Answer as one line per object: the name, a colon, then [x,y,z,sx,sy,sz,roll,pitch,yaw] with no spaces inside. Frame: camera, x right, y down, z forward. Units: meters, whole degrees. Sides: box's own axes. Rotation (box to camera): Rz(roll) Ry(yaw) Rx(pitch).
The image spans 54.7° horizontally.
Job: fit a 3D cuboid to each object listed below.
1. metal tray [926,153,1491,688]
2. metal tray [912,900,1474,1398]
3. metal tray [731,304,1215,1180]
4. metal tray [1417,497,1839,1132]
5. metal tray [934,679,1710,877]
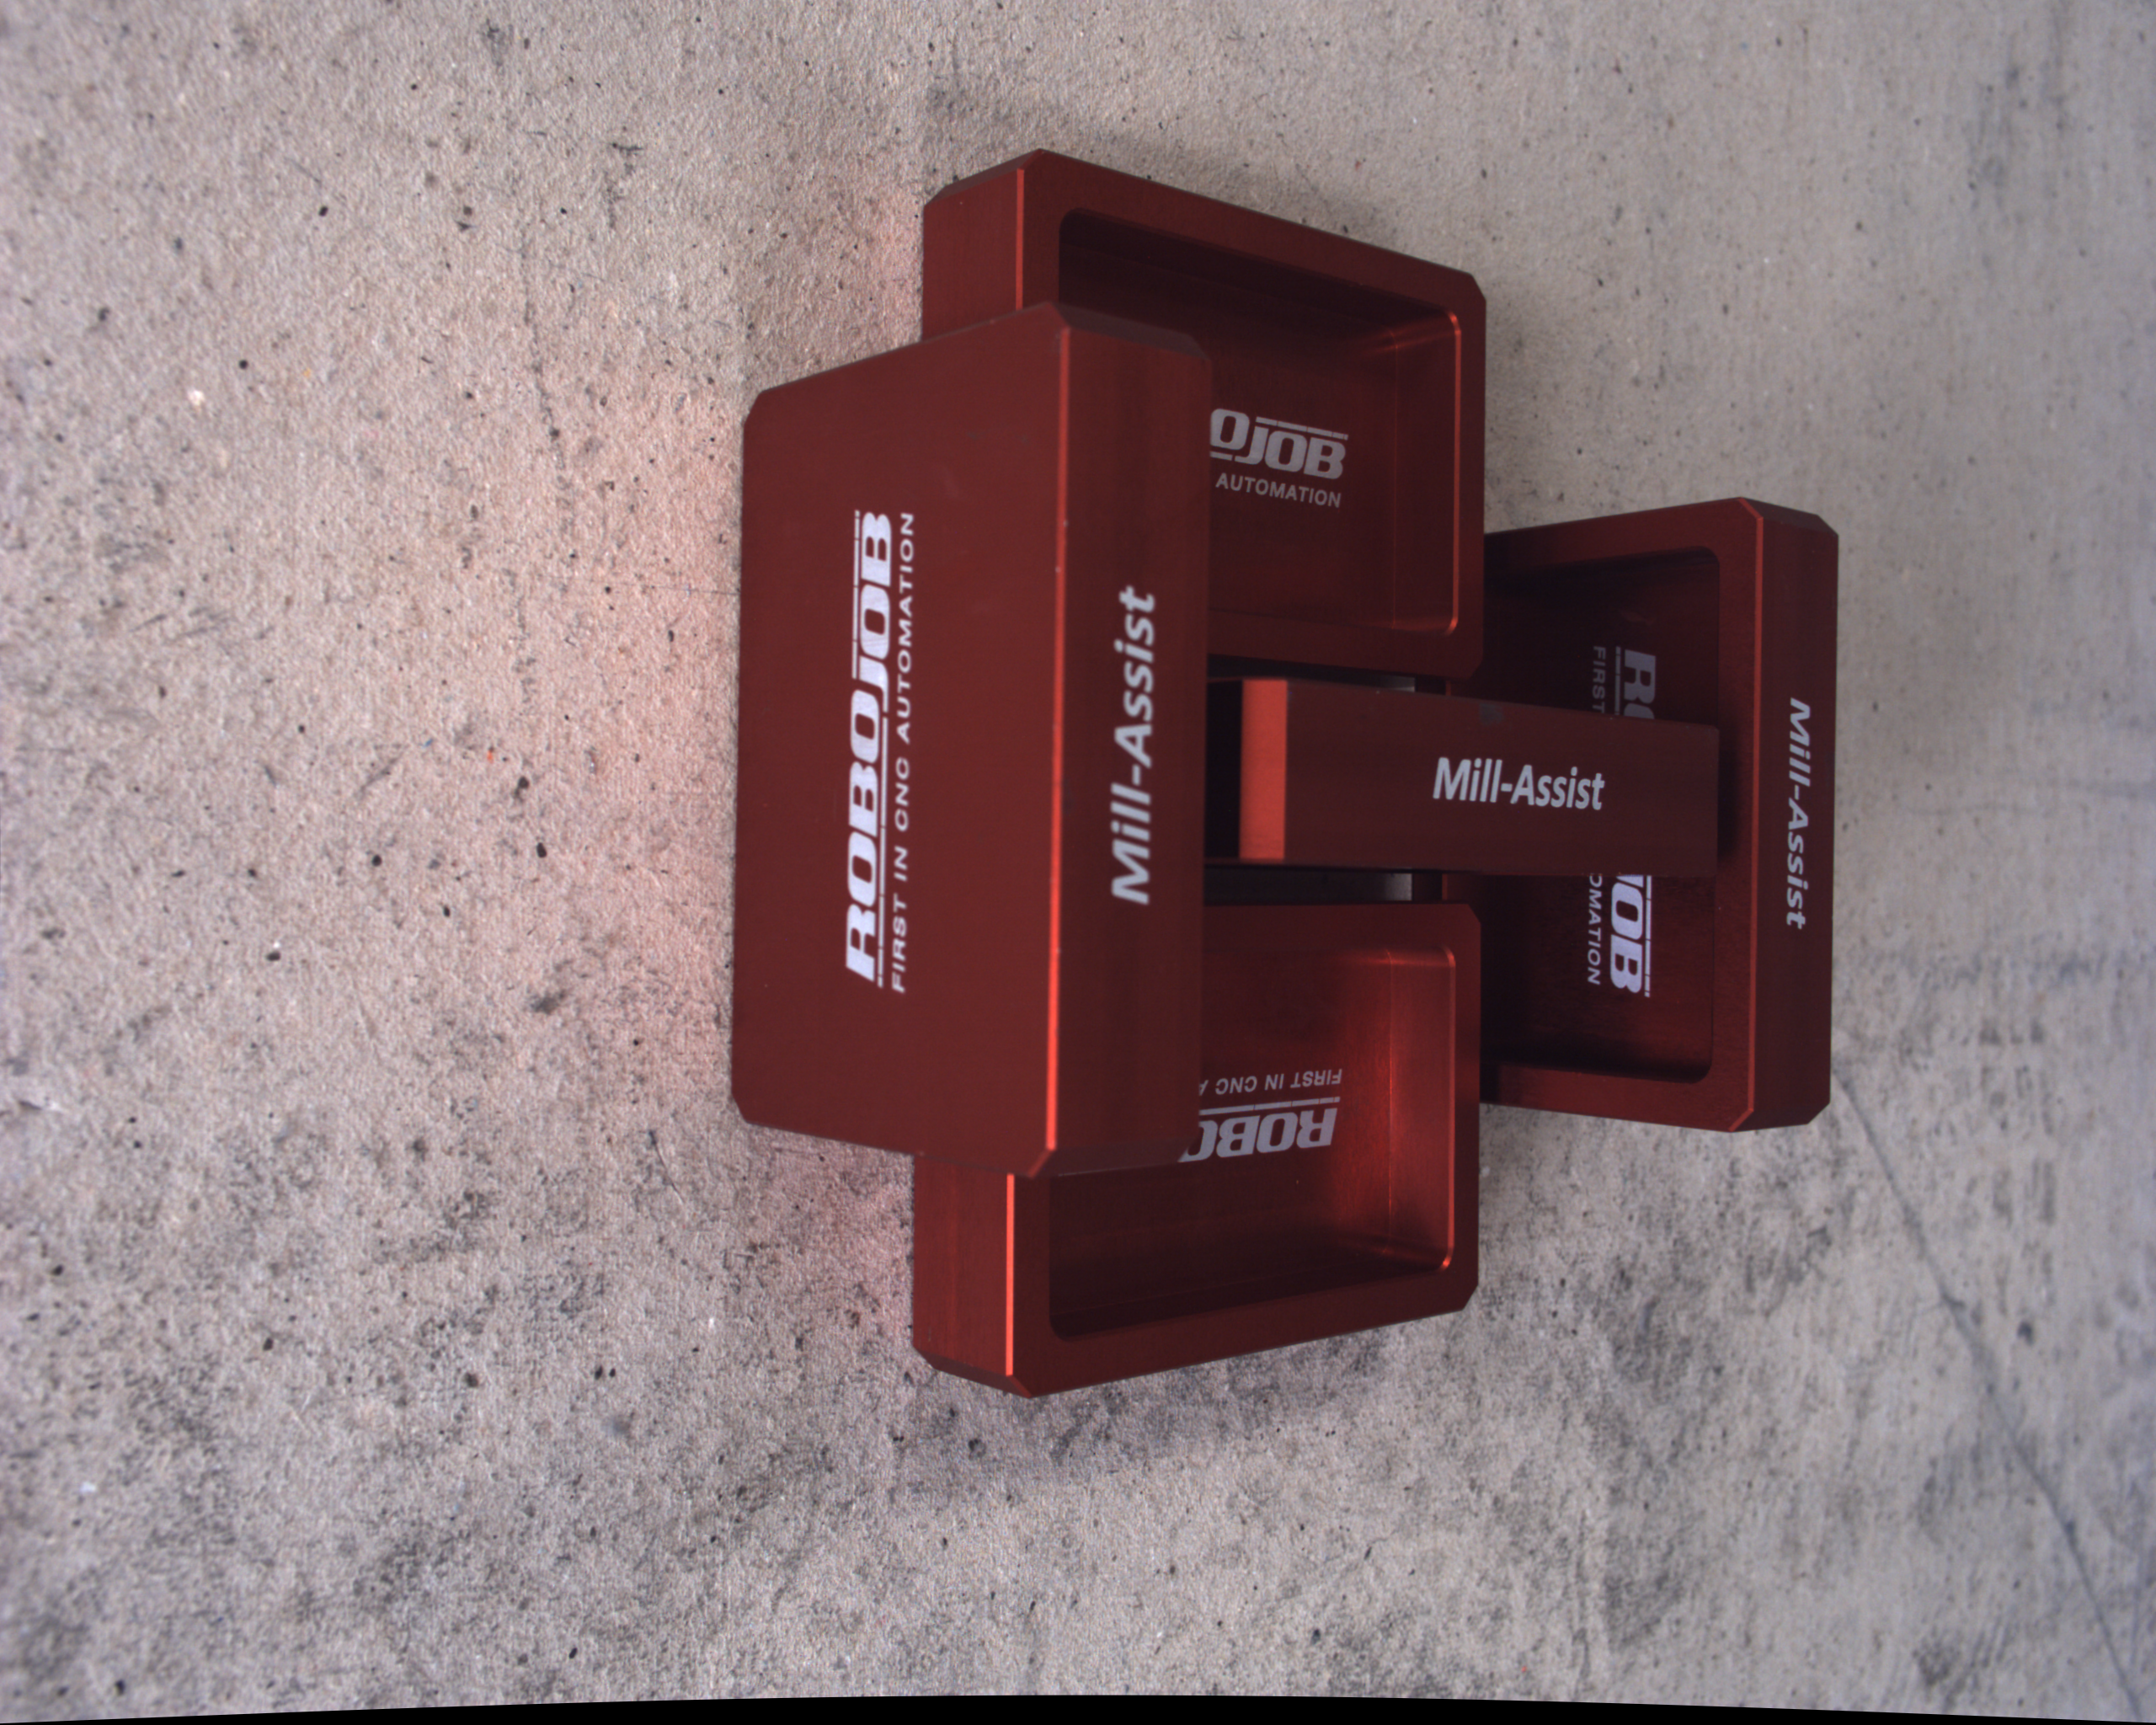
metal tray: [0.030,-0.084,0.427,0.131,0.030,0.089,0,93,-40]
metal tray: [0.028,0.053,0.428,0.131,0.030,0.089,1,89,-40]
metal tray: [-0.020,-0.018,0.347,0.030,0.090,0.129,2,90,-41]
metal tray: [0.119,-0.010,0.463,0.030,0.090,0.129,2,89,-40]
metal tray: [0.049,-0.014,0.406,0.131,0.090,0.030,1,91,-40]
